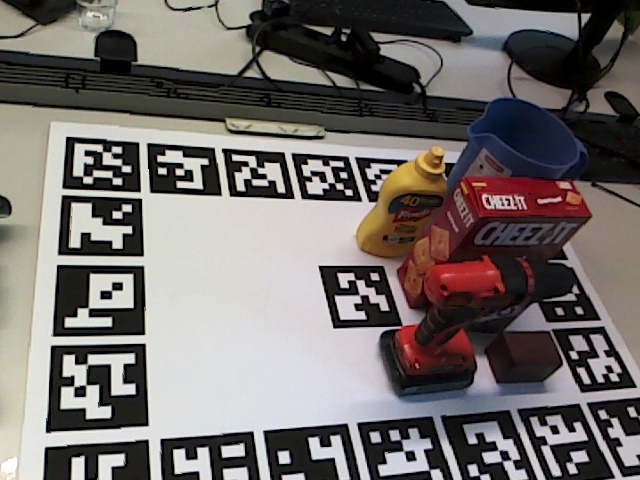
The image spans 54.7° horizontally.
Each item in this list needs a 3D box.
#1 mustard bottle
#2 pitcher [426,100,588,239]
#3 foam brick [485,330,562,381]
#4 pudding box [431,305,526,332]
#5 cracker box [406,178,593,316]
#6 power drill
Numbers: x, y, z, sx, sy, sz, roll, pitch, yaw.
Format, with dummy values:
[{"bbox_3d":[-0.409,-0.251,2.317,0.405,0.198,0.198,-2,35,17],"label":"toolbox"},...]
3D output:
[{"bbox_3d":[0.129,-0.064,0.864,0.096,0.191,0.058,12,51,-10],"label":"mustard bottle"},{"bbox_3d":[0.257,-0.069,0.898,0.188,0.242,0.134,5,51,-13],"label":"pitcher"},{"bbox_3d":[0.275,0.157,0.842,0.078,0.051,0.053,3,53,-17],"label":"foam brick"},{"bbox_3d":[0.218,0.086,0.837,0.113,0.090,0.039,0,51,-16],"label":"pudding box"},{"bbox_3d":[0.231,0.014,0.827,0.163,0.213,0.072,-2,51,-18],"label":"cracker box"},{"bbox_3d":[0.190,0.091,0.729,0.184,0.187,0.057,0,49,-20],"label":"power drill"}]
